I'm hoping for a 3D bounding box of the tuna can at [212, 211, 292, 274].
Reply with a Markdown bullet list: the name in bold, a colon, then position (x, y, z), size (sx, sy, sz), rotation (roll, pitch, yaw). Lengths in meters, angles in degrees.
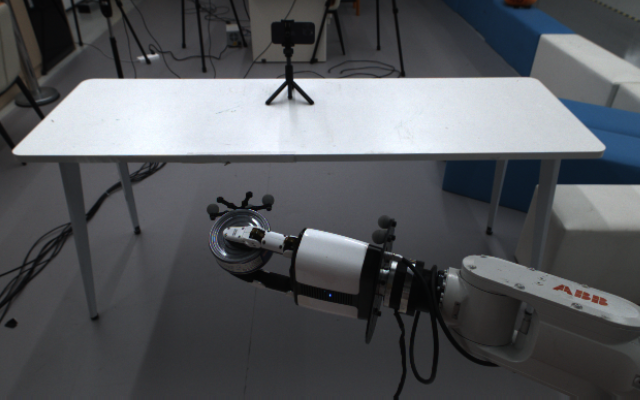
- **tuna can**: position (-0.102, 0.061, 0.653), size (0.085, 0.034, 0.085), rotation (-3, 60, 5)
